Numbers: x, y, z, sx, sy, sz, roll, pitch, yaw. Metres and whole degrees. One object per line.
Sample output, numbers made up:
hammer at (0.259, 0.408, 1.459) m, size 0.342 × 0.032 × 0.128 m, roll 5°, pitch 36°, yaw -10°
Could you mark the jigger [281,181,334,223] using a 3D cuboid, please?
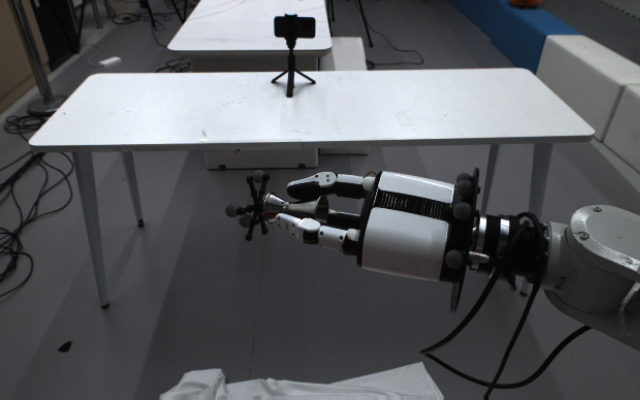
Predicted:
jigger at (-0.021, 0.006, 0.577) m, size 0.071 × 0.043 × 0.043 m, roll 4°, pitch 34°, yaw 21°
